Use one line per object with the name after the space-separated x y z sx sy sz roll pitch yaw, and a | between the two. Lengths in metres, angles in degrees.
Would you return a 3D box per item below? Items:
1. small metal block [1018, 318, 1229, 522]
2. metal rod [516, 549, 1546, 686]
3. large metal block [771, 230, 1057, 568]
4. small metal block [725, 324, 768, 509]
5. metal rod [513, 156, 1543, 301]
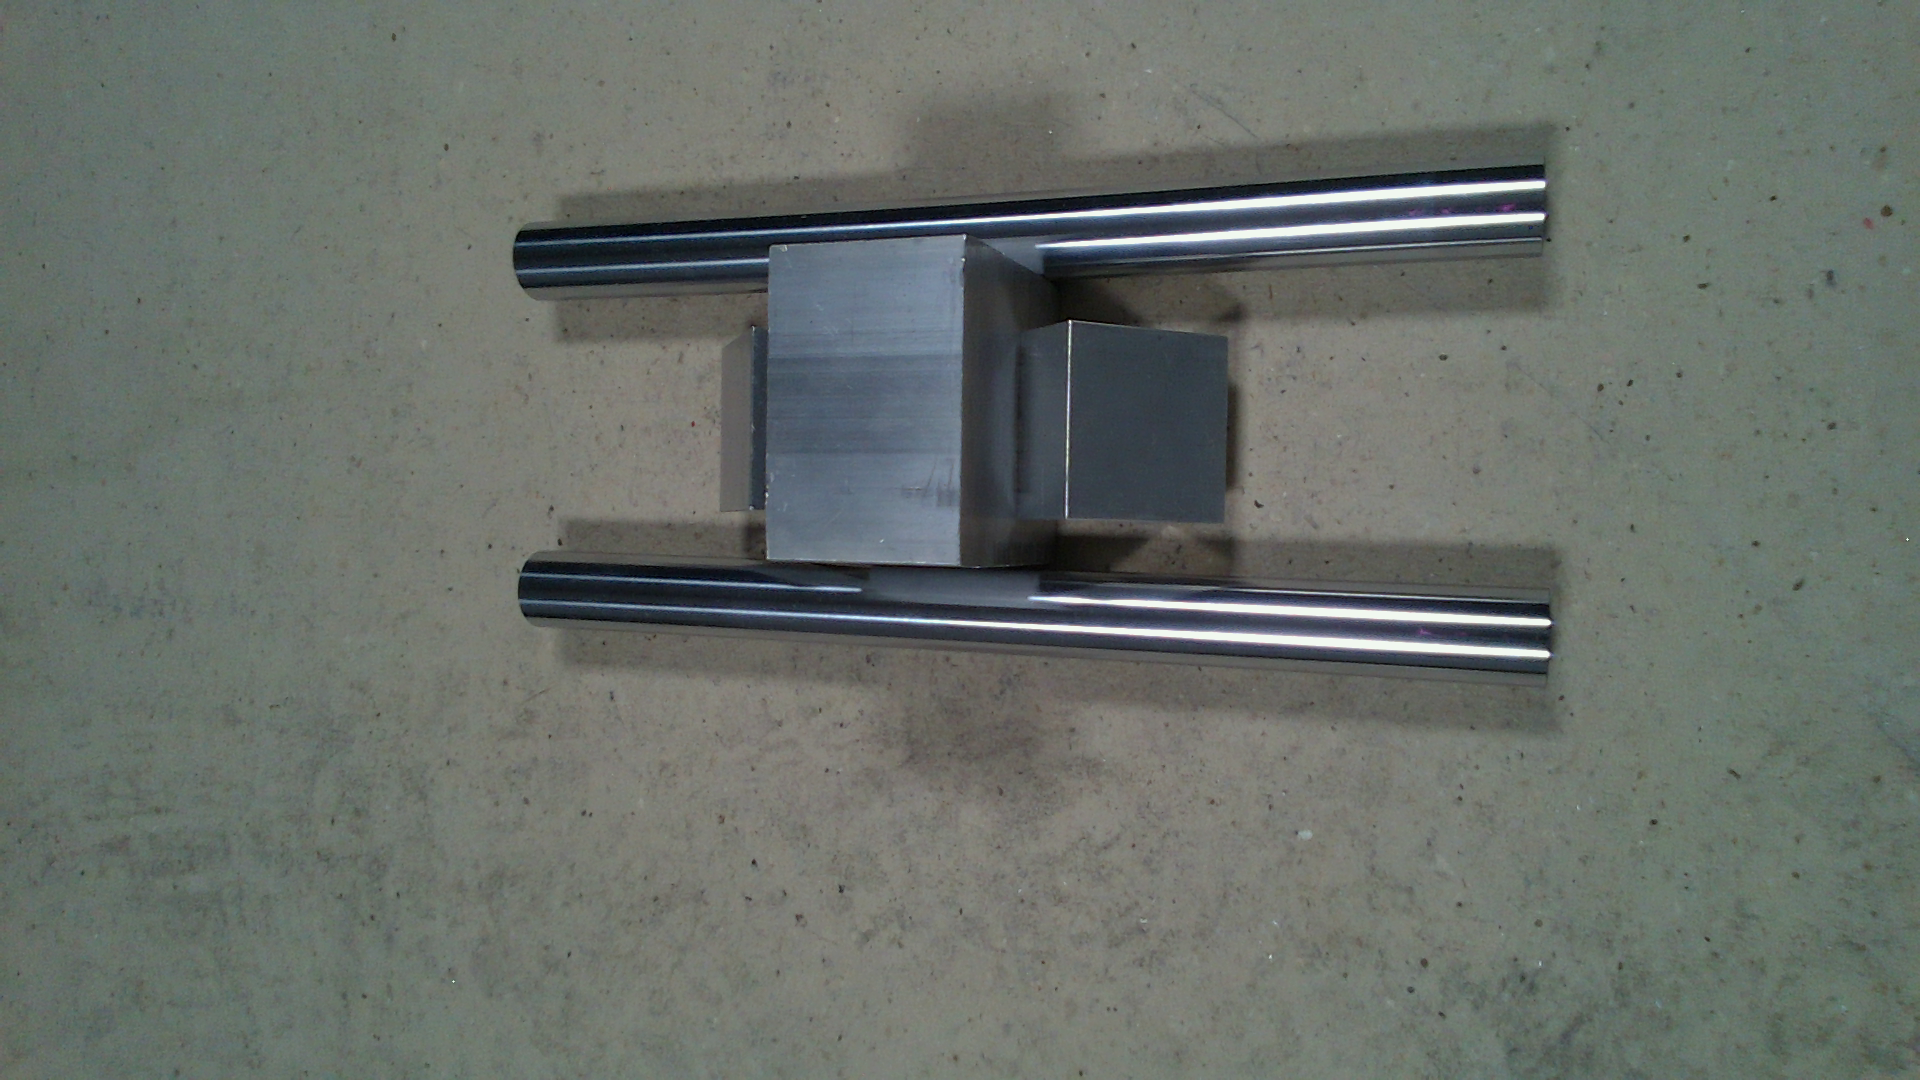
0.044 -0.030 0.366 0.025 0.050 0.050 1 90 62 | small metal block
0.005 0.020 0.394 0.299 0.025 0.025 2 91 20 | metal rod
-0.009 -0.034 0.372 0.050 0.080 0.080 1 90 20 | large metal block
-0.053 -0.034 0.400 0.025 0.050 0.050 0 91 -19 | small metal block
0.004 -0.086 0.394 0.299 0.025 0.025 1 91 20 | metal rod
